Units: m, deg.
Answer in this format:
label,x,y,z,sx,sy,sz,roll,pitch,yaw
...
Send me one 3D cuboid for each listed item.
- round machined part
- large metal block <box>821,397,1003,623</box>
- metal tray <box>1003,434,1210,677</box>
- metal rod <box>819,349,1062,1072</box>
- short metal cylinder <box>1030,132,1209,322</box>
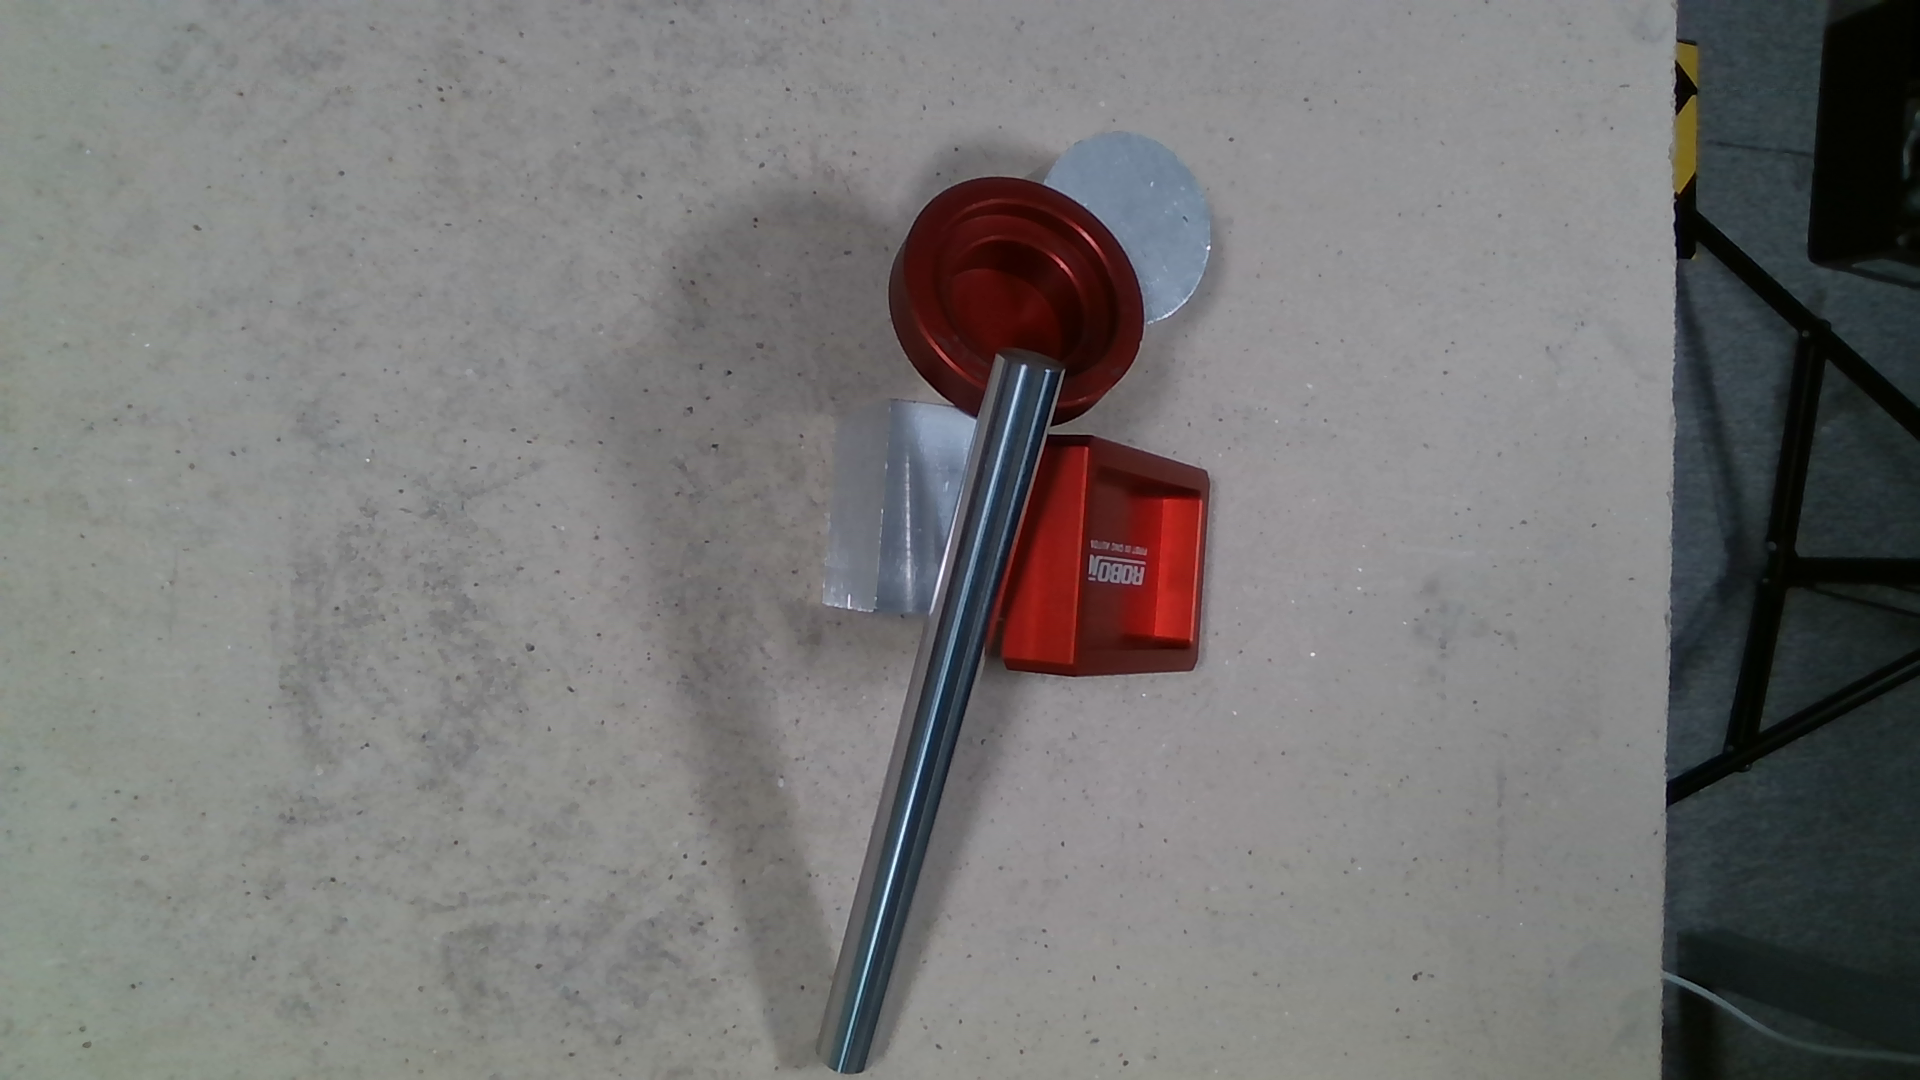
label,x,y,z,sx,sy,sz,roll,pitch,yaw
round machined part,0.019,-0.089,0.537,0.098,0.042,0.098,8,67,-19
large metal block,-0.018,-0.011,0.549,0.050,0.080,0.080,5,88,-20
metal tray,0.064,0.009,0.567,0.130,0.030,0.090,7,87,-60
metal rod,-0.012,0.075,0.519,0.025,0.025,0.301,6,112,-20
short metal cylinder,0.060,-0.129,0.594,0.080,0.050,0.080,0,90,-20
